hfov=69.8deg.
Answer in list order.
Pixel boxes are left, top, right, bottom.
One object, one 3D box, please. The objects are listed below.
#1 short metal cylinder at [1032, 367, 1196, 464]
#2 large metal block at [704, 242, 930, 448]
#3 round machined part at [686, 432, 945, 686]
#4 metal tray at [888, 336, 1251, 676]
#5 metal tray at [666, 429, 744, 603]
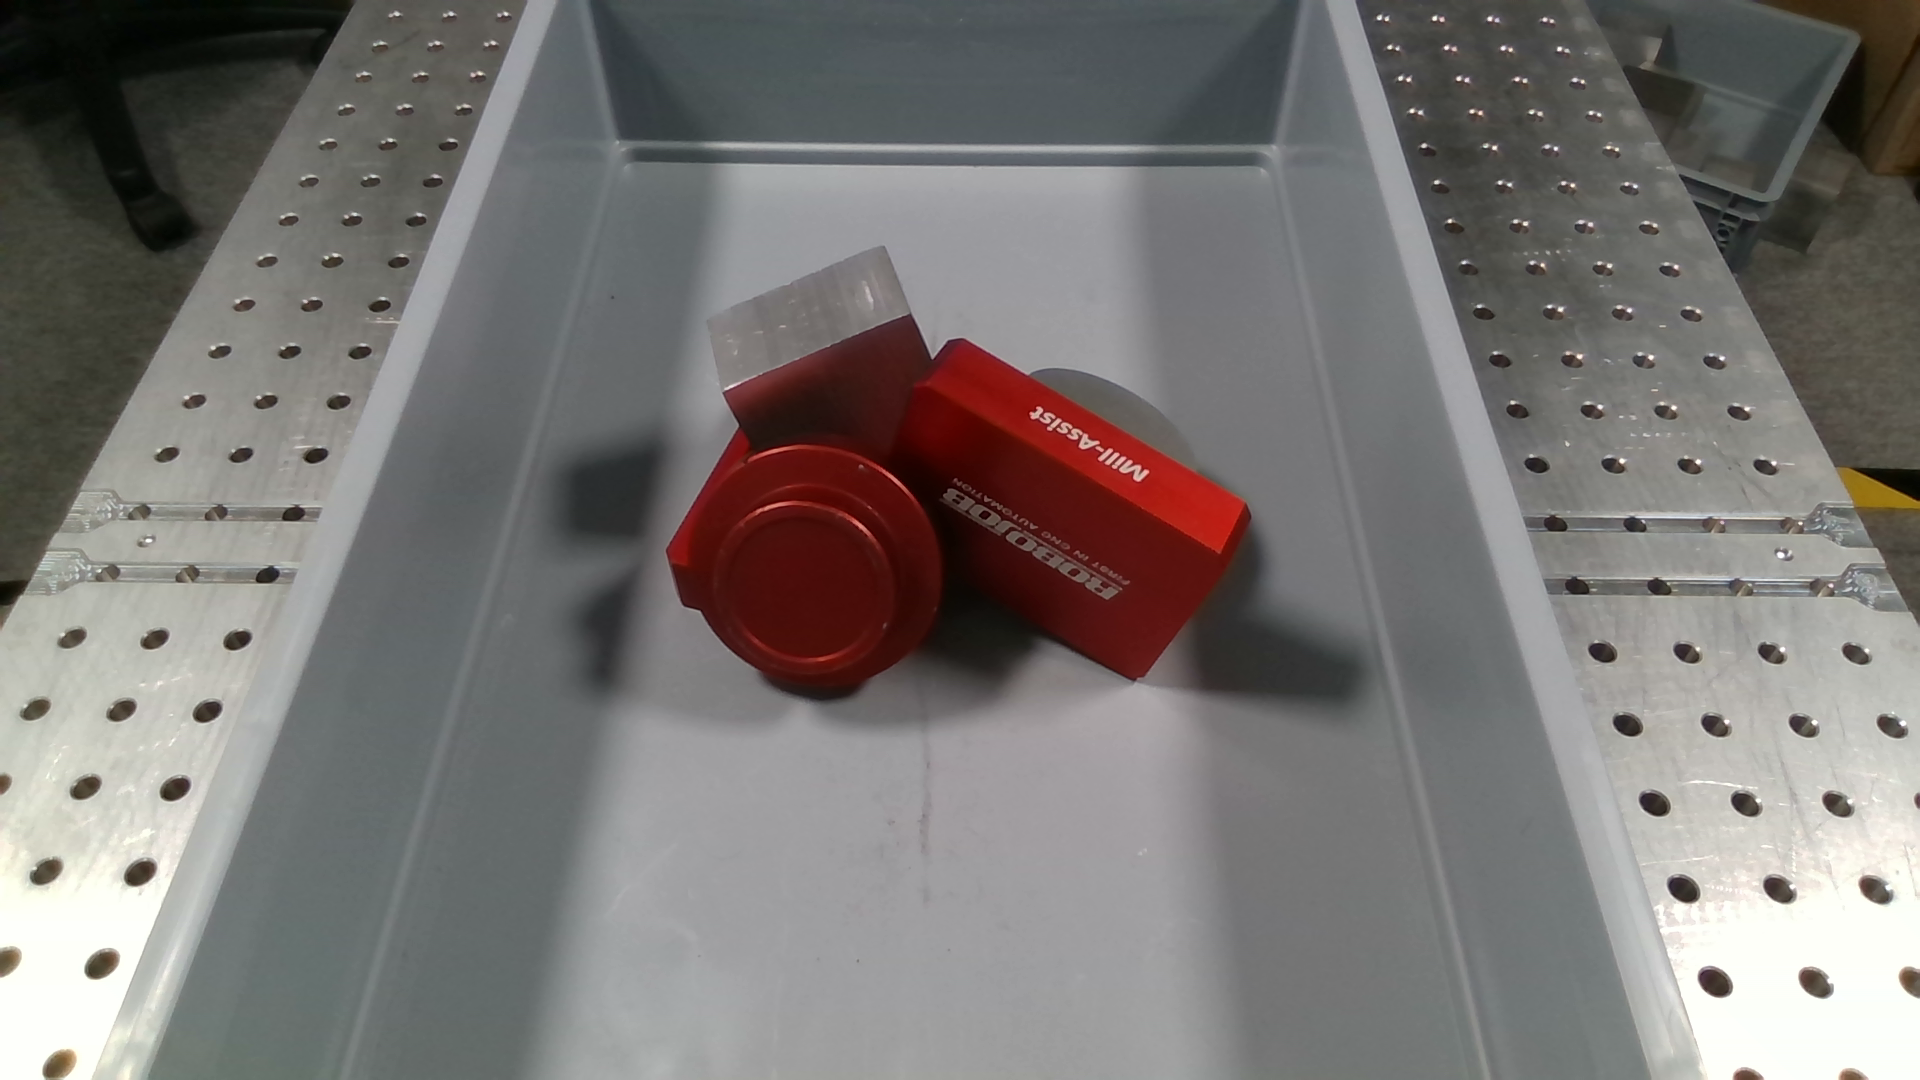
[{"bbox_3d":[0.051,-0.028,0.573,0.080,0.050,0.080,18,36,-14],"label":"short metal cylinder"},{"bbox_3d":[-0.050,-0.064,0.573,0.080,0.080,0.050,-23,46,2],"label":"large metal block"},{"bbox_3d":[-0.056,0.011,0.524,0.098,0.098,0.042,4,20,4],"label":"round machined part"},{"bbox_3d":[0.034,-0.010,0.532,0.130,0.090,0.030,31,52,4],"label":"metal tray"},{"bbox_3d":[-0.059,-0.021,0.599,0.090,0.030,0.130,13,51,11],"label":"metal tray"}]
